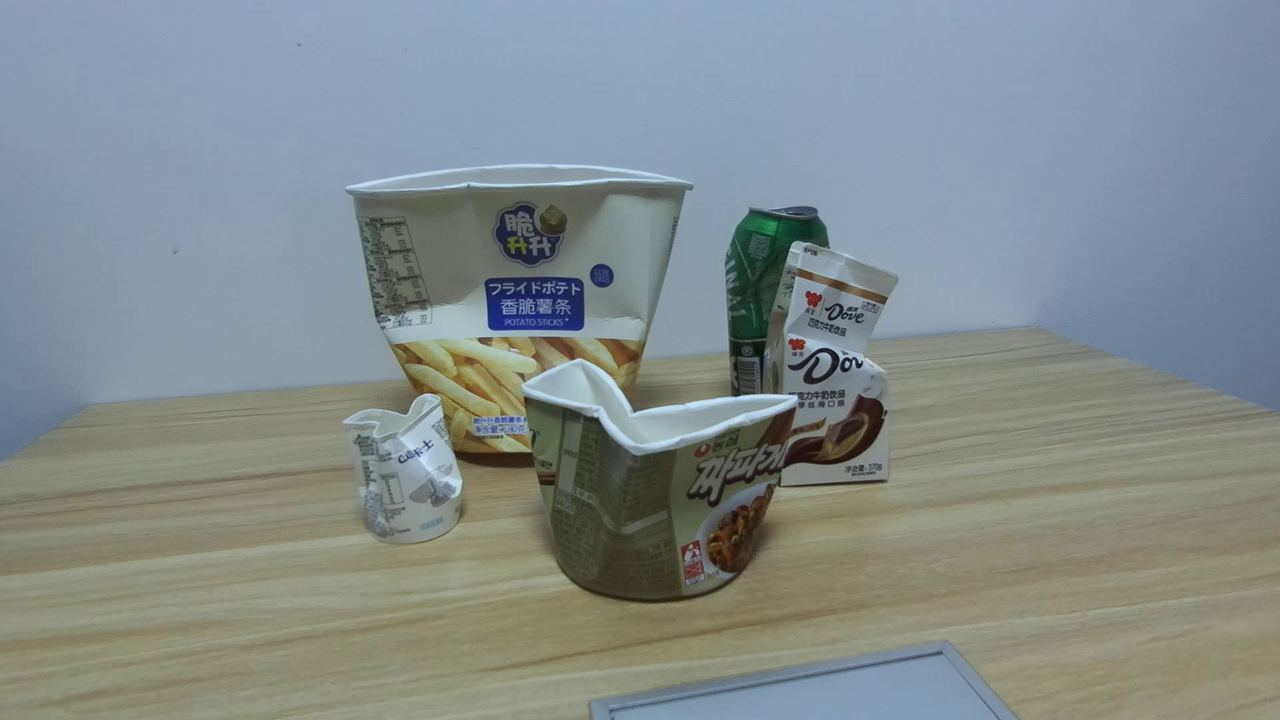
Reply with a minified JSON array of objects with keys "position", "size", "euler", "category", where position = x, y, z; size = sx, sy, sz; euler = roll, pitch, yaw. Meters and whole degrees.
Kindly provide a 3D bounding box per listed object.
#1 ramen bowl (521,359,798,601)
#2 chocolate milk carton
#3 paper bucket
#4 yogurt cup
[{"position":[0.003,0.058,0.387],"size":[0.112,0.093,0.127],"euler":[-16,23,-36],"category":"ramen bowl"},{"position":[0.122,-0.002,0.463],"size":[0.076,0.155,0.073],"euler":[-1,21,-2],"category":"chocolate milk carton"},{"position":[-0.083,-0.040,0.530],"size":[0.219,0.199,0.147],"euler":[-12,21,-26],"category":"paper bucket"},{"position":[-0.138,0.064,0.418],"size":[0.055,0.072,0.055],"euler":[-18,23,-40],"category":"yogurt cup"}]
